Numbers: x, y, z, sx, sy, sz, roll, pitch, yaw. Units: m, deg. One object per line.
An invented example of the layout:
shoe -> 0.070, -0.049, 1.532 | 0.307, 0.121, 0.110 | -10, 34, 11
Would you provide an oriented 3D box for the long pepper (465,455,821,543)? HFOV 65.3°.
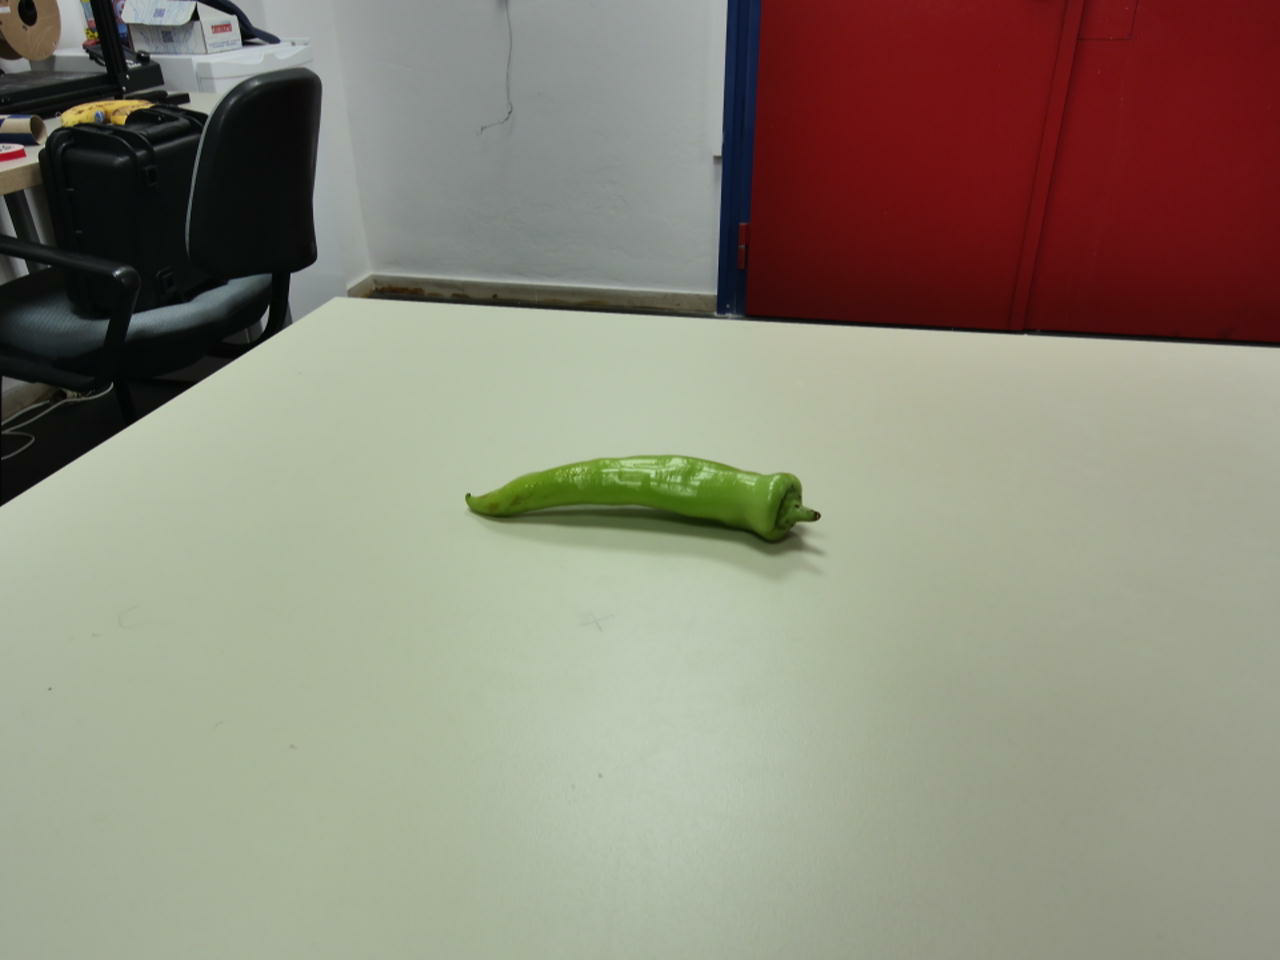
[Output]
long pepper -> 0.000, 0.004, 0.541 | 0.197, 0.038, 0.046 | 6, 26, 13
